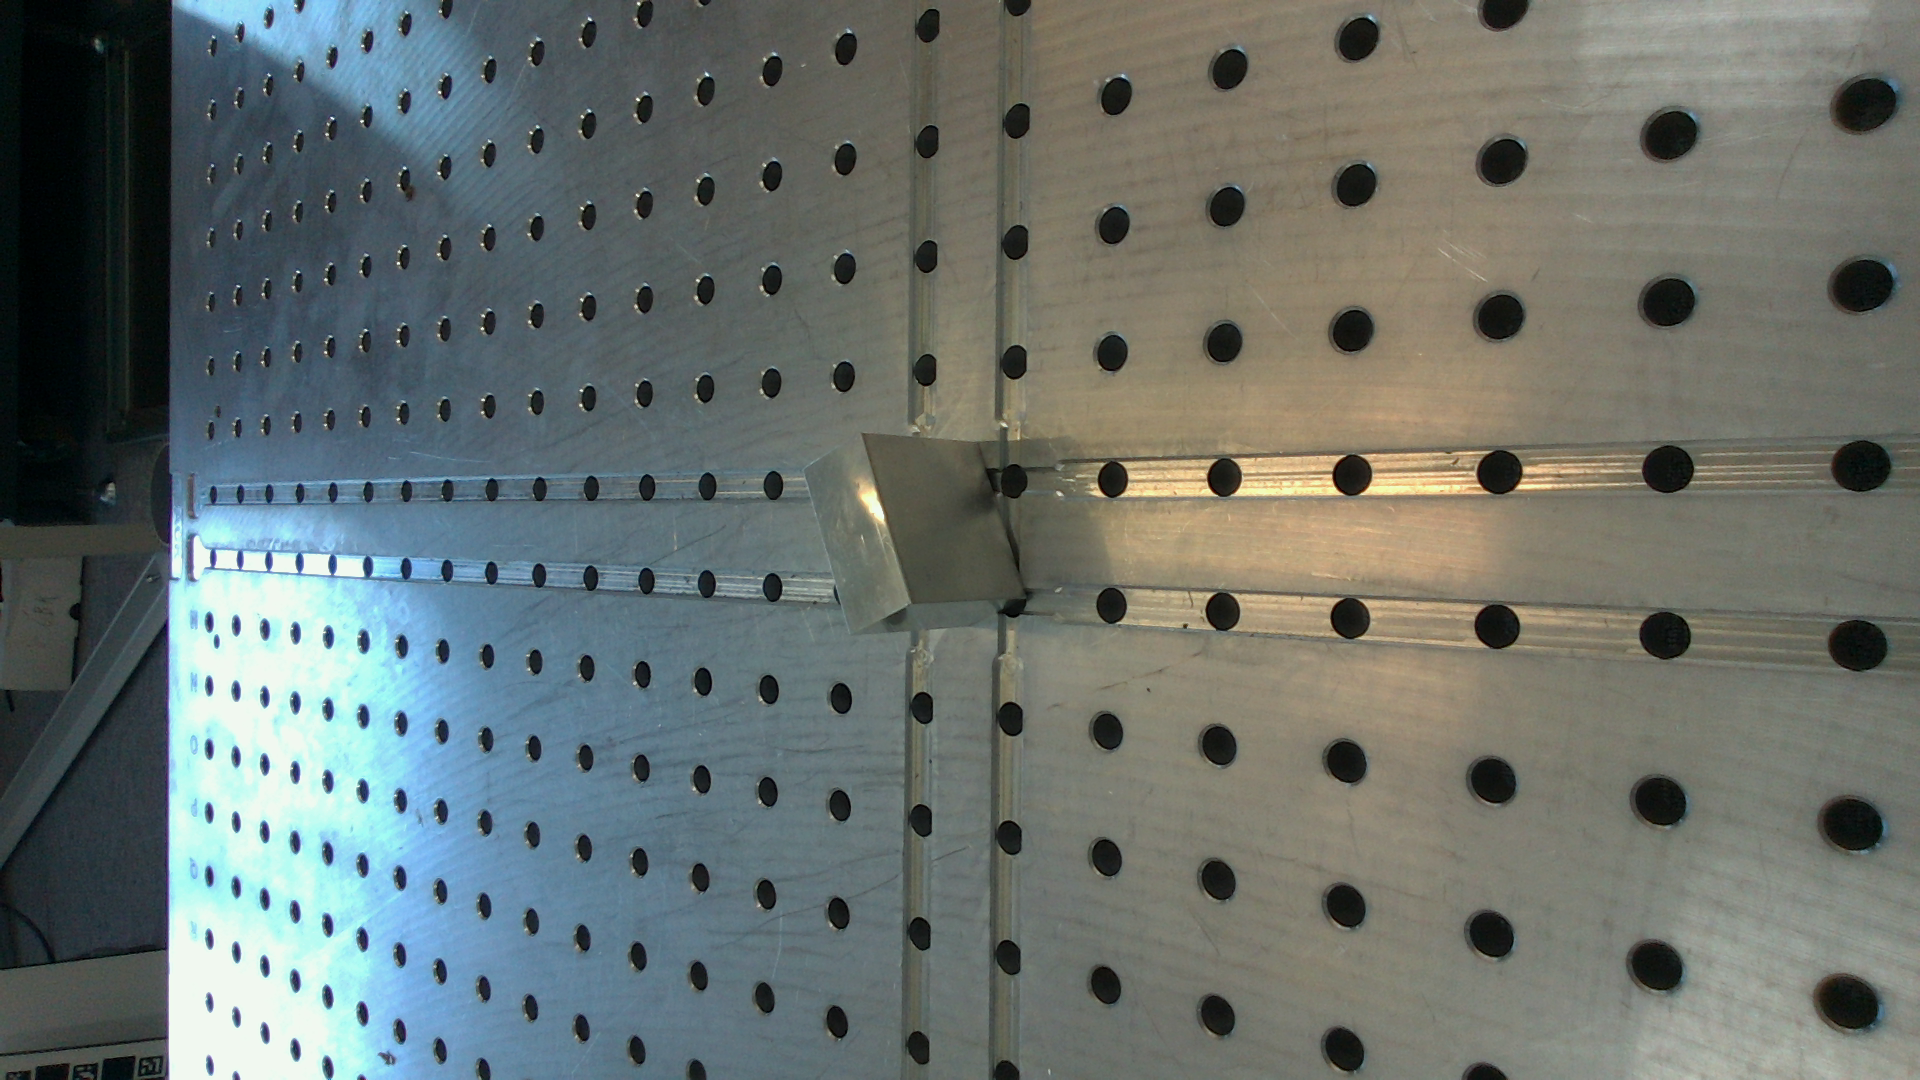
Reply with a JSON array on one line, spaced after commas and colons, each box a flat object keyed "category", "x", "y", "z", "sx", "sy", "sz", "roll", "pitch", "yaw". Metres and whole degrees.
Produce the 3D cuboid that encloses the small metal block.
[{"category": "small metal block", "x": -0.012, "y": -0.002, "z": 0.392, "sx": 0.025, "sy": 0.050, "sz": 0.050, "roll": -28, "pitch": 73, "yaw": 36}]
